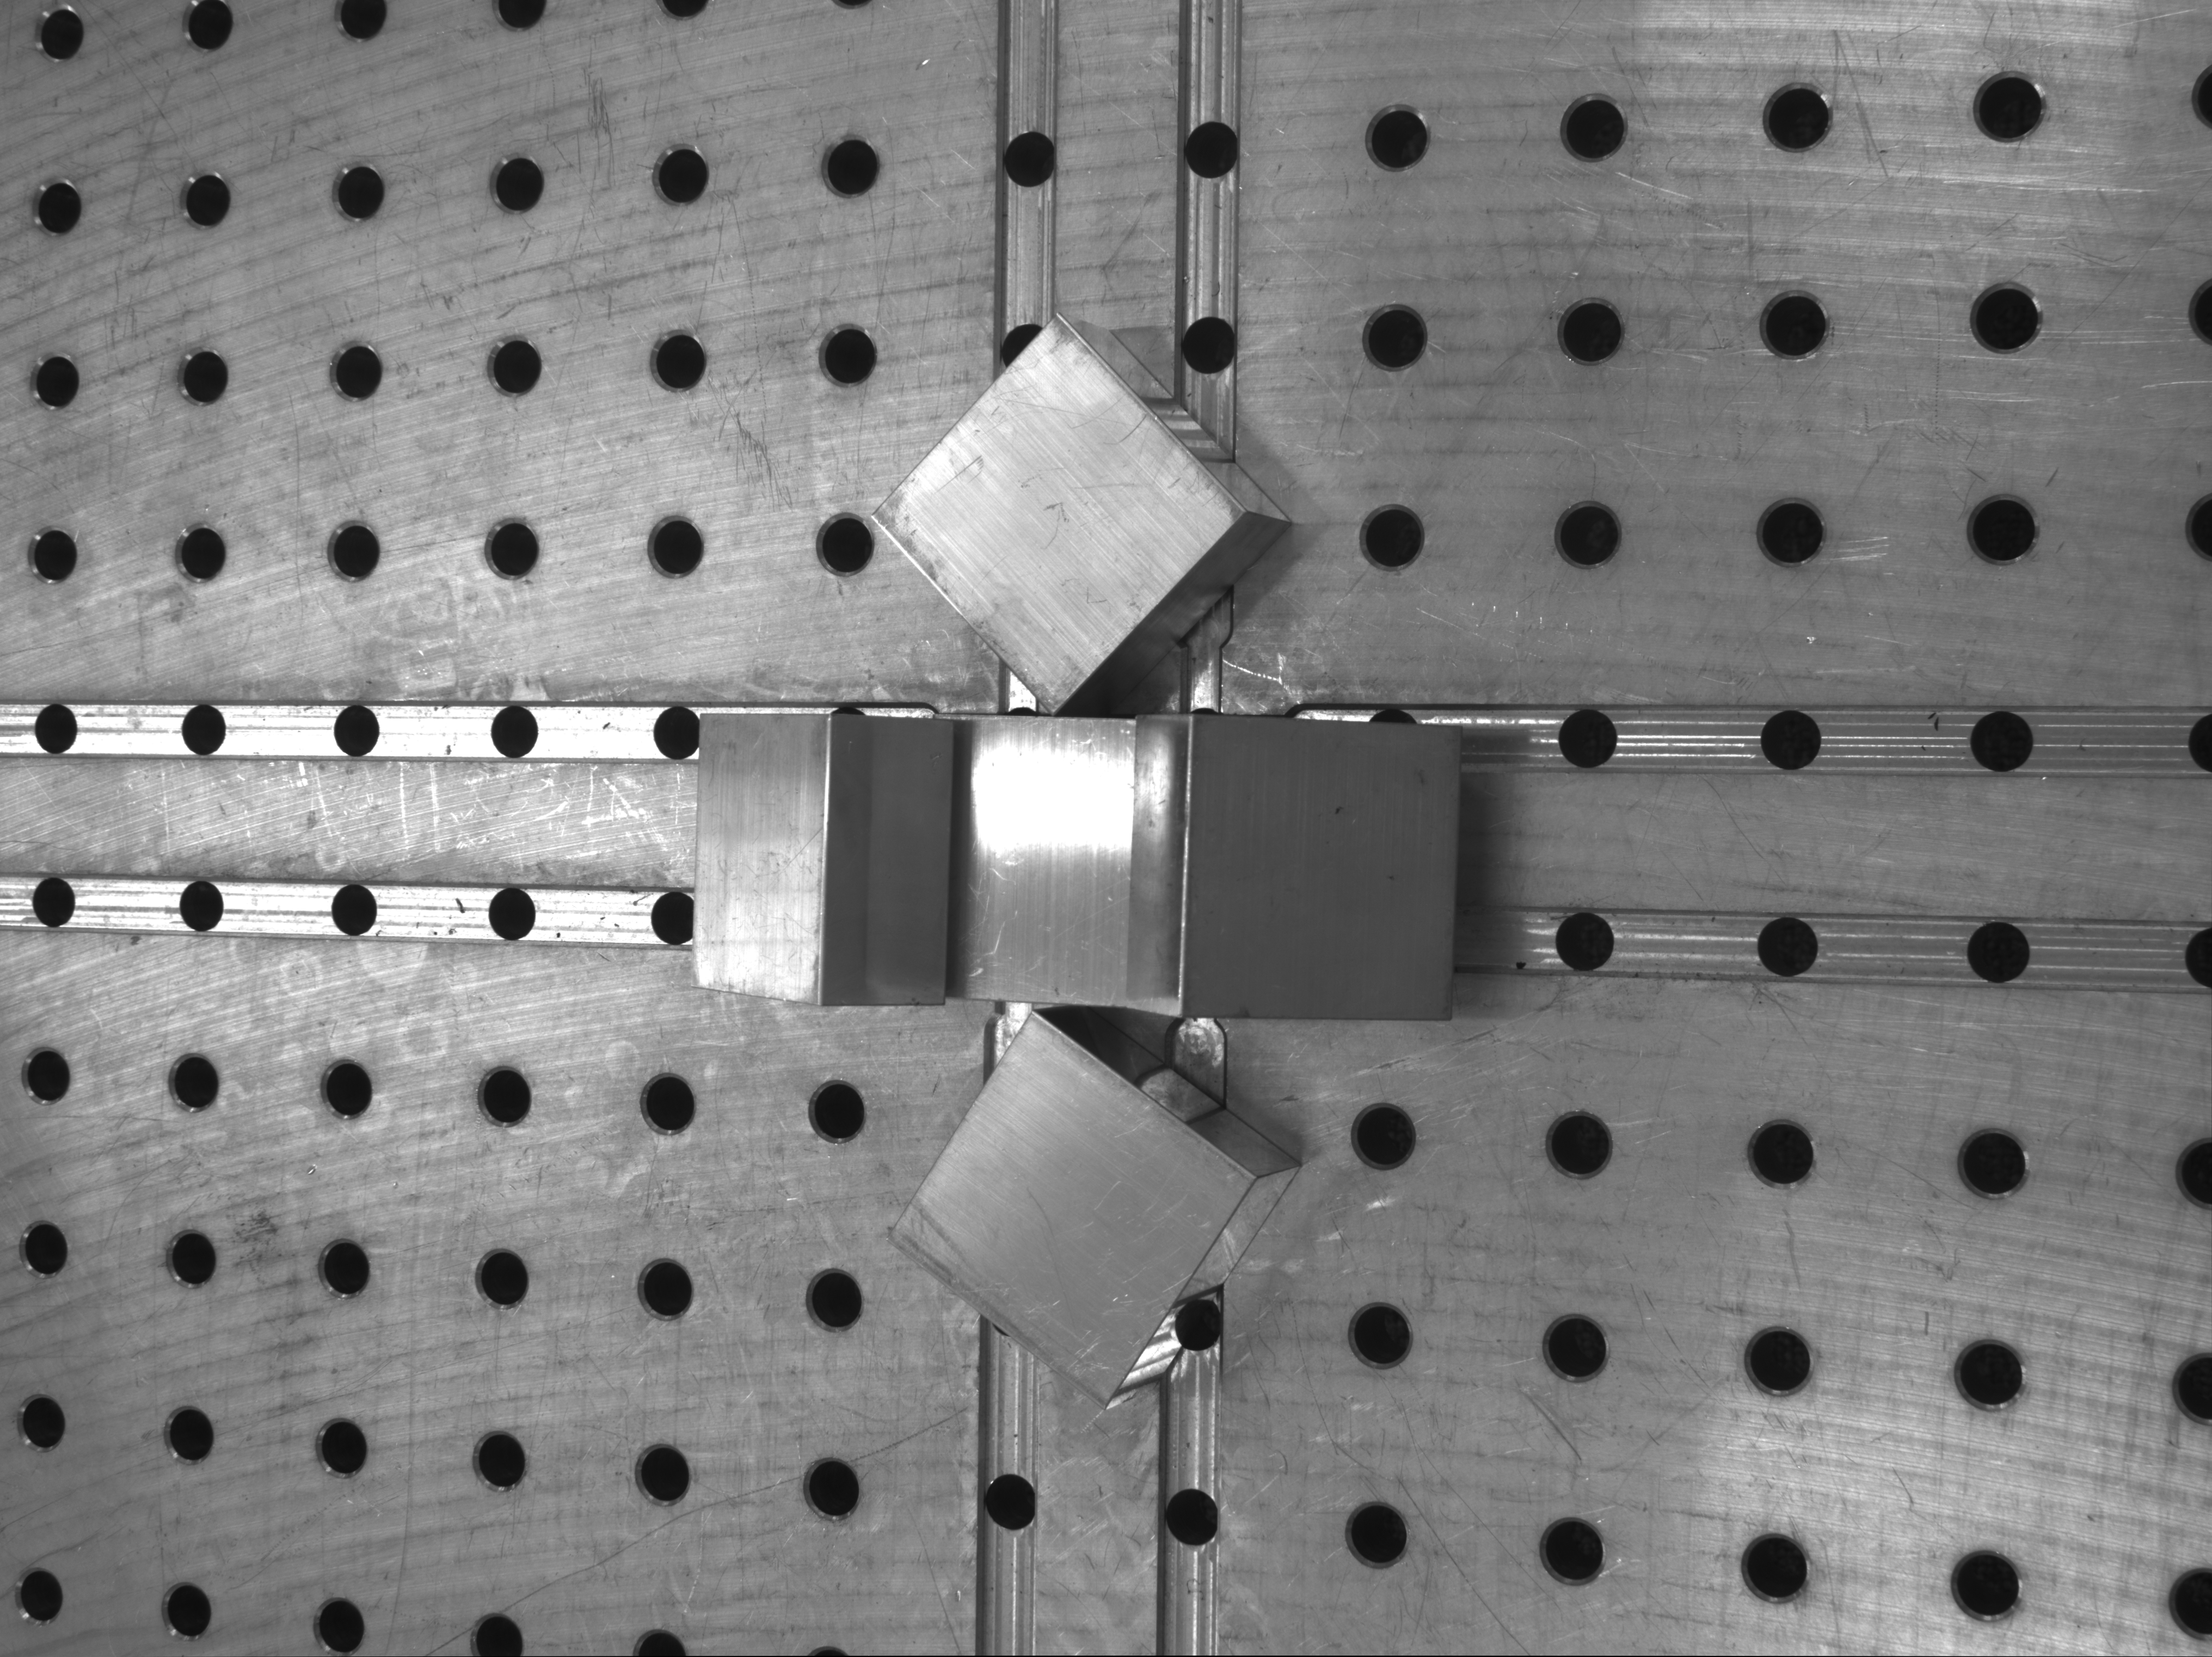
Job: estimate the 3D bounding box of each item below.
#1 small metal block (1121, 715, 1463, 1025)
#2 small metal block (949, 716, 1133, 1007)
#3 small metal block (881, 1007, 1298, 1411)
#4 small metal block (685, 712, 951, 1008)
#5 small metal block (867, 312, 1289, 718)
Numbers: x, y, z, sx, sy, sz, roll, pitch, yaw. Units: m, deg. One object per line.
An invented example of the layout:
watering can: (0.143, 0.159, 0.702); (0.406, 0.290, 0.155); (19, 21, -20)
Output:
small metal block: (0.031, 0.007, 0.623); (0.050, 0.025, 0.050); (2, 91, -21)
small metal block: (-0.005, 0.006, 0.651); (0.050, 0.025, 0.050); (1, 90, 20)
small metal block: (-0.003, 0.066, 0.650); (0.050, 0.025, 0.050); (36, 102, 18)
small metal block: (-0.052, 0.005, 0.655); (0.050, 0.025, 0.050); (4, 93, 57)
small metal block: (-0.005, -0.054, 0.651); (0.050, 0.025, 0.050); (-46, 75, 14)
